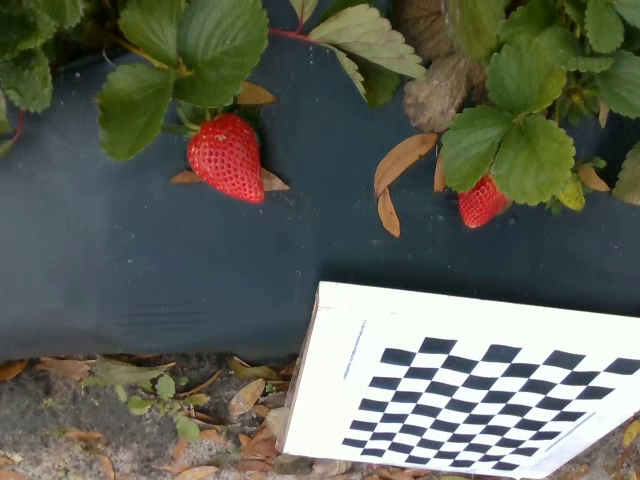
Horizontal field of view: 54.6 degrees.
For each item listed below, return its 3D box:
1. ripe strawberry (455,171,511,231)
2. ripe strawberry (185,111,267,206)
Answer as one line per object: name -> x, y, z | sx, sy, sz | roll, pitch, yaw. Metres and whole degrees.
ripe strawberry -> 0.101, -0.022, 0.387 | 0.040, 0.042, 0.037 | 12, 3, -13
ripe strawberry -> -0.051, -0.042, 0.369 | 0.042, 0.065, 0.047 | -26, -23, -28
